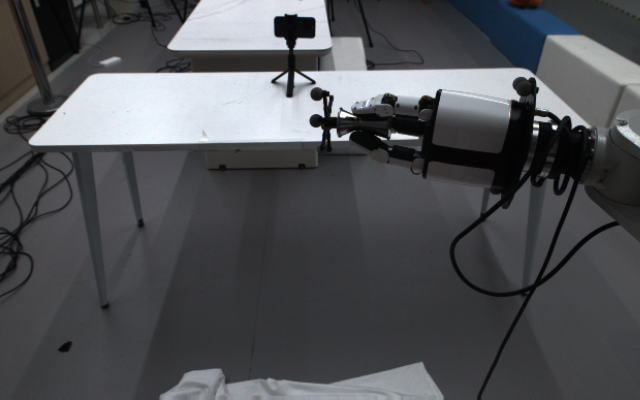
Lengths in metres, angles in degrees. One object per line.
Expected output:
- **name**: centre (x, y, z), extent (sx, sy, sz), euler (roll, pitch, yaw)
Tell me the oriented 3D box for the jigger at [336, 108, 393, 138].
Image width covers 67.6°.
- **jigger**: centre (0.066, -0.106, 0.645), extent (0.071, 0.043, 0.043), euler (3, 34, 13)
